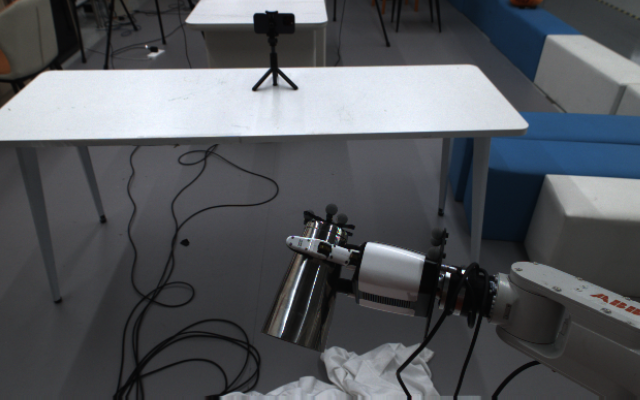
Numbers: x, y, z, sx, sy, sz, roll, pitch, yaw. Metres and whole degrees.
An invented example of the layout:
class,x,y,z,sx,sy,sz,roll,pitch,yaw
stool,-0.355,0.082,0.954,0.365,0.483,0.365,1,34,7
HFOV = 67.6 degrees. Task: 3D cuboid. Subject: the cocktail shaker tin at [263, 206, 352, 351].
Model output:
class,x,y,z,sx,sy,sz,roll,pitch,yaw
cocktail shaker tin,-0.013,0.119,0.695,0.093,0.093,0.170,13,71,16
